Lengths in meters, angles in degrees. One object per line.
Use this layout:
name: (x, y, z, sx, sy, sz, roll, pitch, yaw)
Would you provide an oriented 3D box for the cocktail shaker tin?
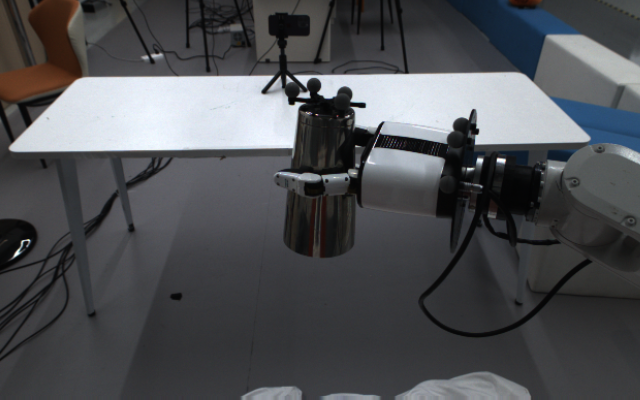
cocktail shaker tin: (0.005, -0.027, 0.587, 0.093, 0.170, 0.093, 2, 26, -1)
